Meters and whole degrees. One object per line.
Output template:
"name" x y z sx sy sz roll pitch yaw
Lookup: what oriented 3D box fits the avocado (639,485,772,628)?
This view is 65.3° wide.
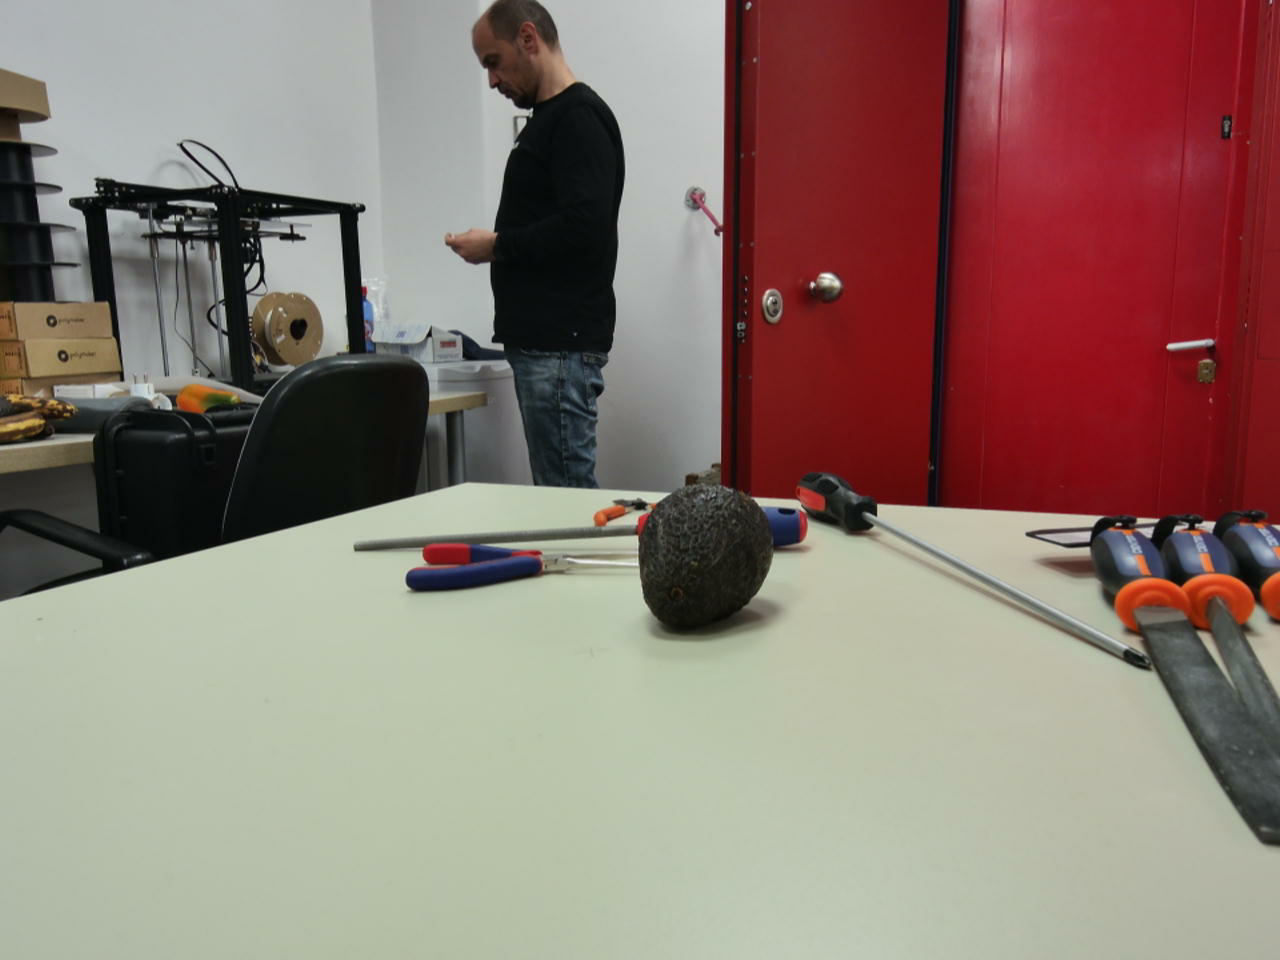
"avocado" 0.031 0.037 0.525 0.090 0.069 0.070 -4 8 -41
